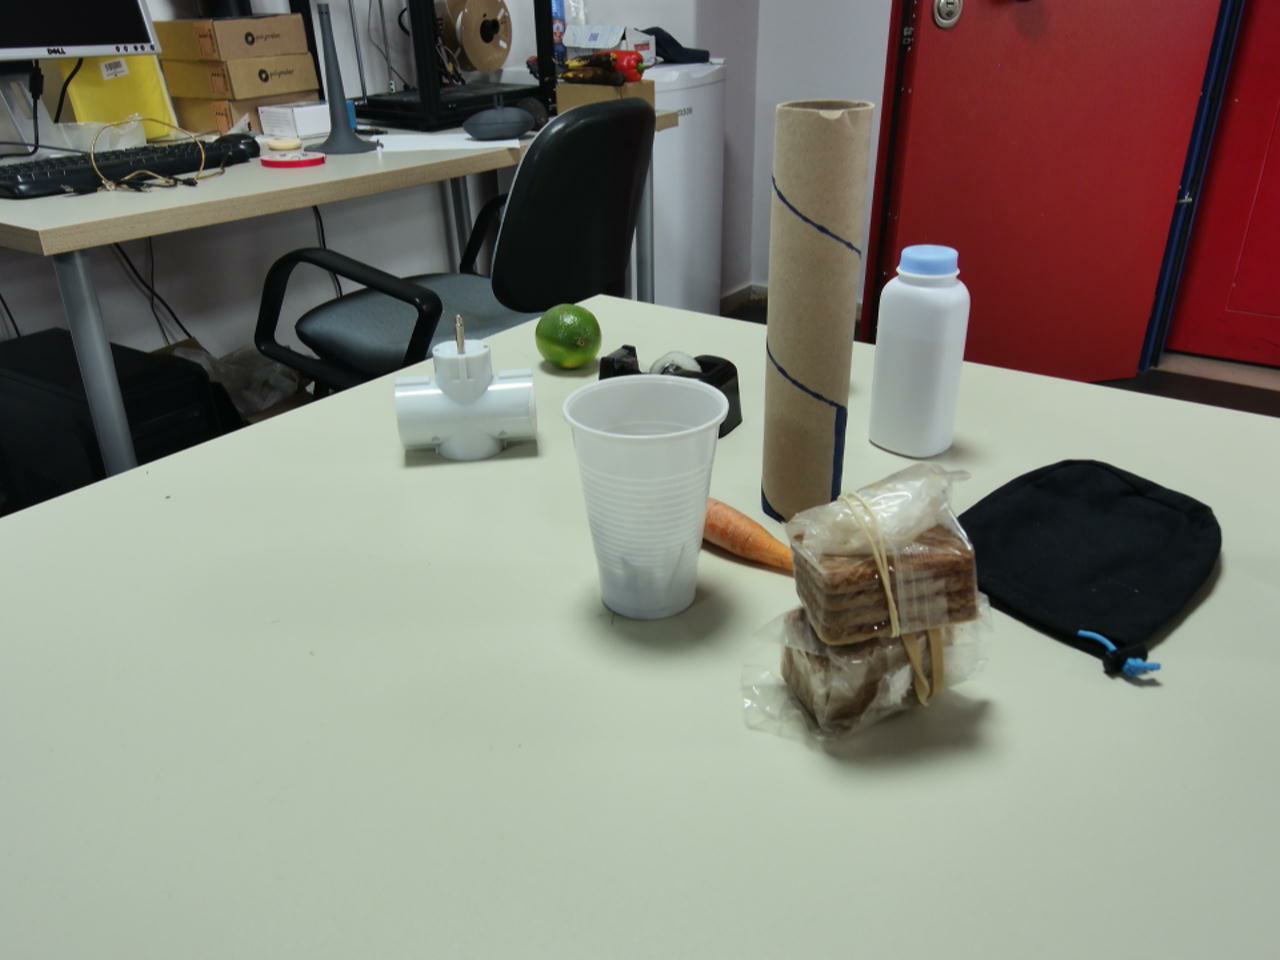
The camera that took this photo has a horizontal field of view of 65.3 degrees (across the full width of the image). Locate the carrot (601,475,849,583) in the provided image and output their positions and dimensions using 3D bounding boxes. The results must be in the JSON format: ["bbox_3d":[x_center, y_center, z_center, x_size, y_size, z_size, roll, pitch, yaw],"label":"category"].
[{"bbox_3d":[0.044,0.024,0.557,0.163,0.029,0.031,17,30,33],"label":"carrot"}]
